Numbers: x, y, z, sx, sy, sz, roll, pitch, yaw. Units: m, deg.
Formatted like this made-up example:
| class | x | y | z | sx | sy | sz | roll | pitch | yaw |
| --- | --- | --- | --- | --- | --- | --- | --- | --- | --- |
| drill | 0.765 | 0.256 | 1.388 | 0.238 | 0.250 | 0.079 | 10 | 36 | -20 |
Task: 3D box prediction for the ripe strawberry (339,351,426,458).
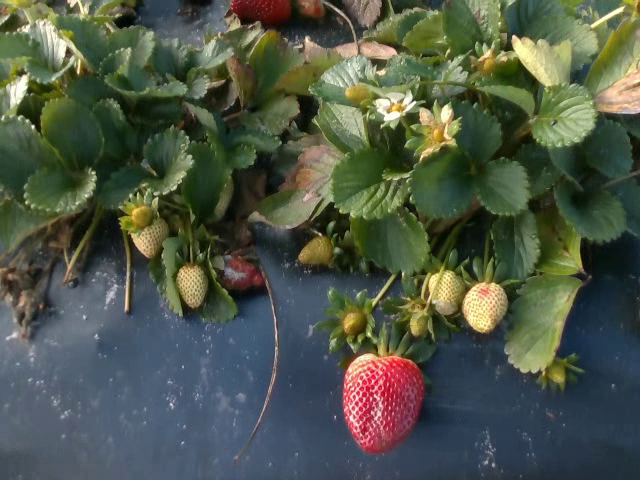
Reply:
| class | x | y | z | sx | sy | sz | roll | pitch | yaw |
| --- | --- | --- | --- | --- | --- | --- | --- | --- | --- |
| ripe strawberry | 0.038 | 0.104 | 0.387 | 0.052 | 0.068 | 0.045 | 4 | -44 | 6 |
